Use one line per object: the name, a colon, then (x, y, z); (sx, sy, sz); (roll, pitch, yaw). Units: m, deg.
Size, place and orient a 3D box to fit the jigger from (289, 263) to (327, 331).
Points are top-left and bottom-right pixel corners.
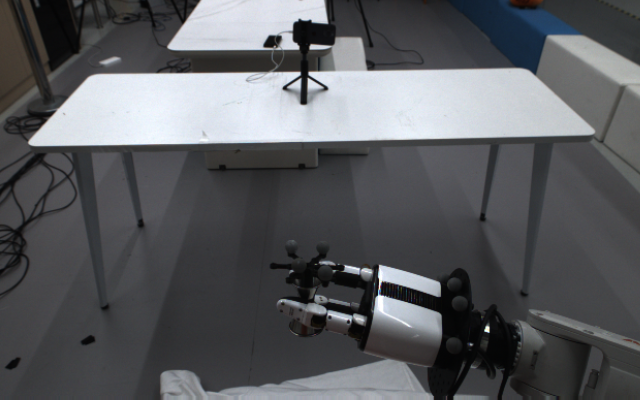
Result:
jigger: (-0.017, 0.126, 0.604); (0.043, 0.071, 0.043); (1, 20, 0)
